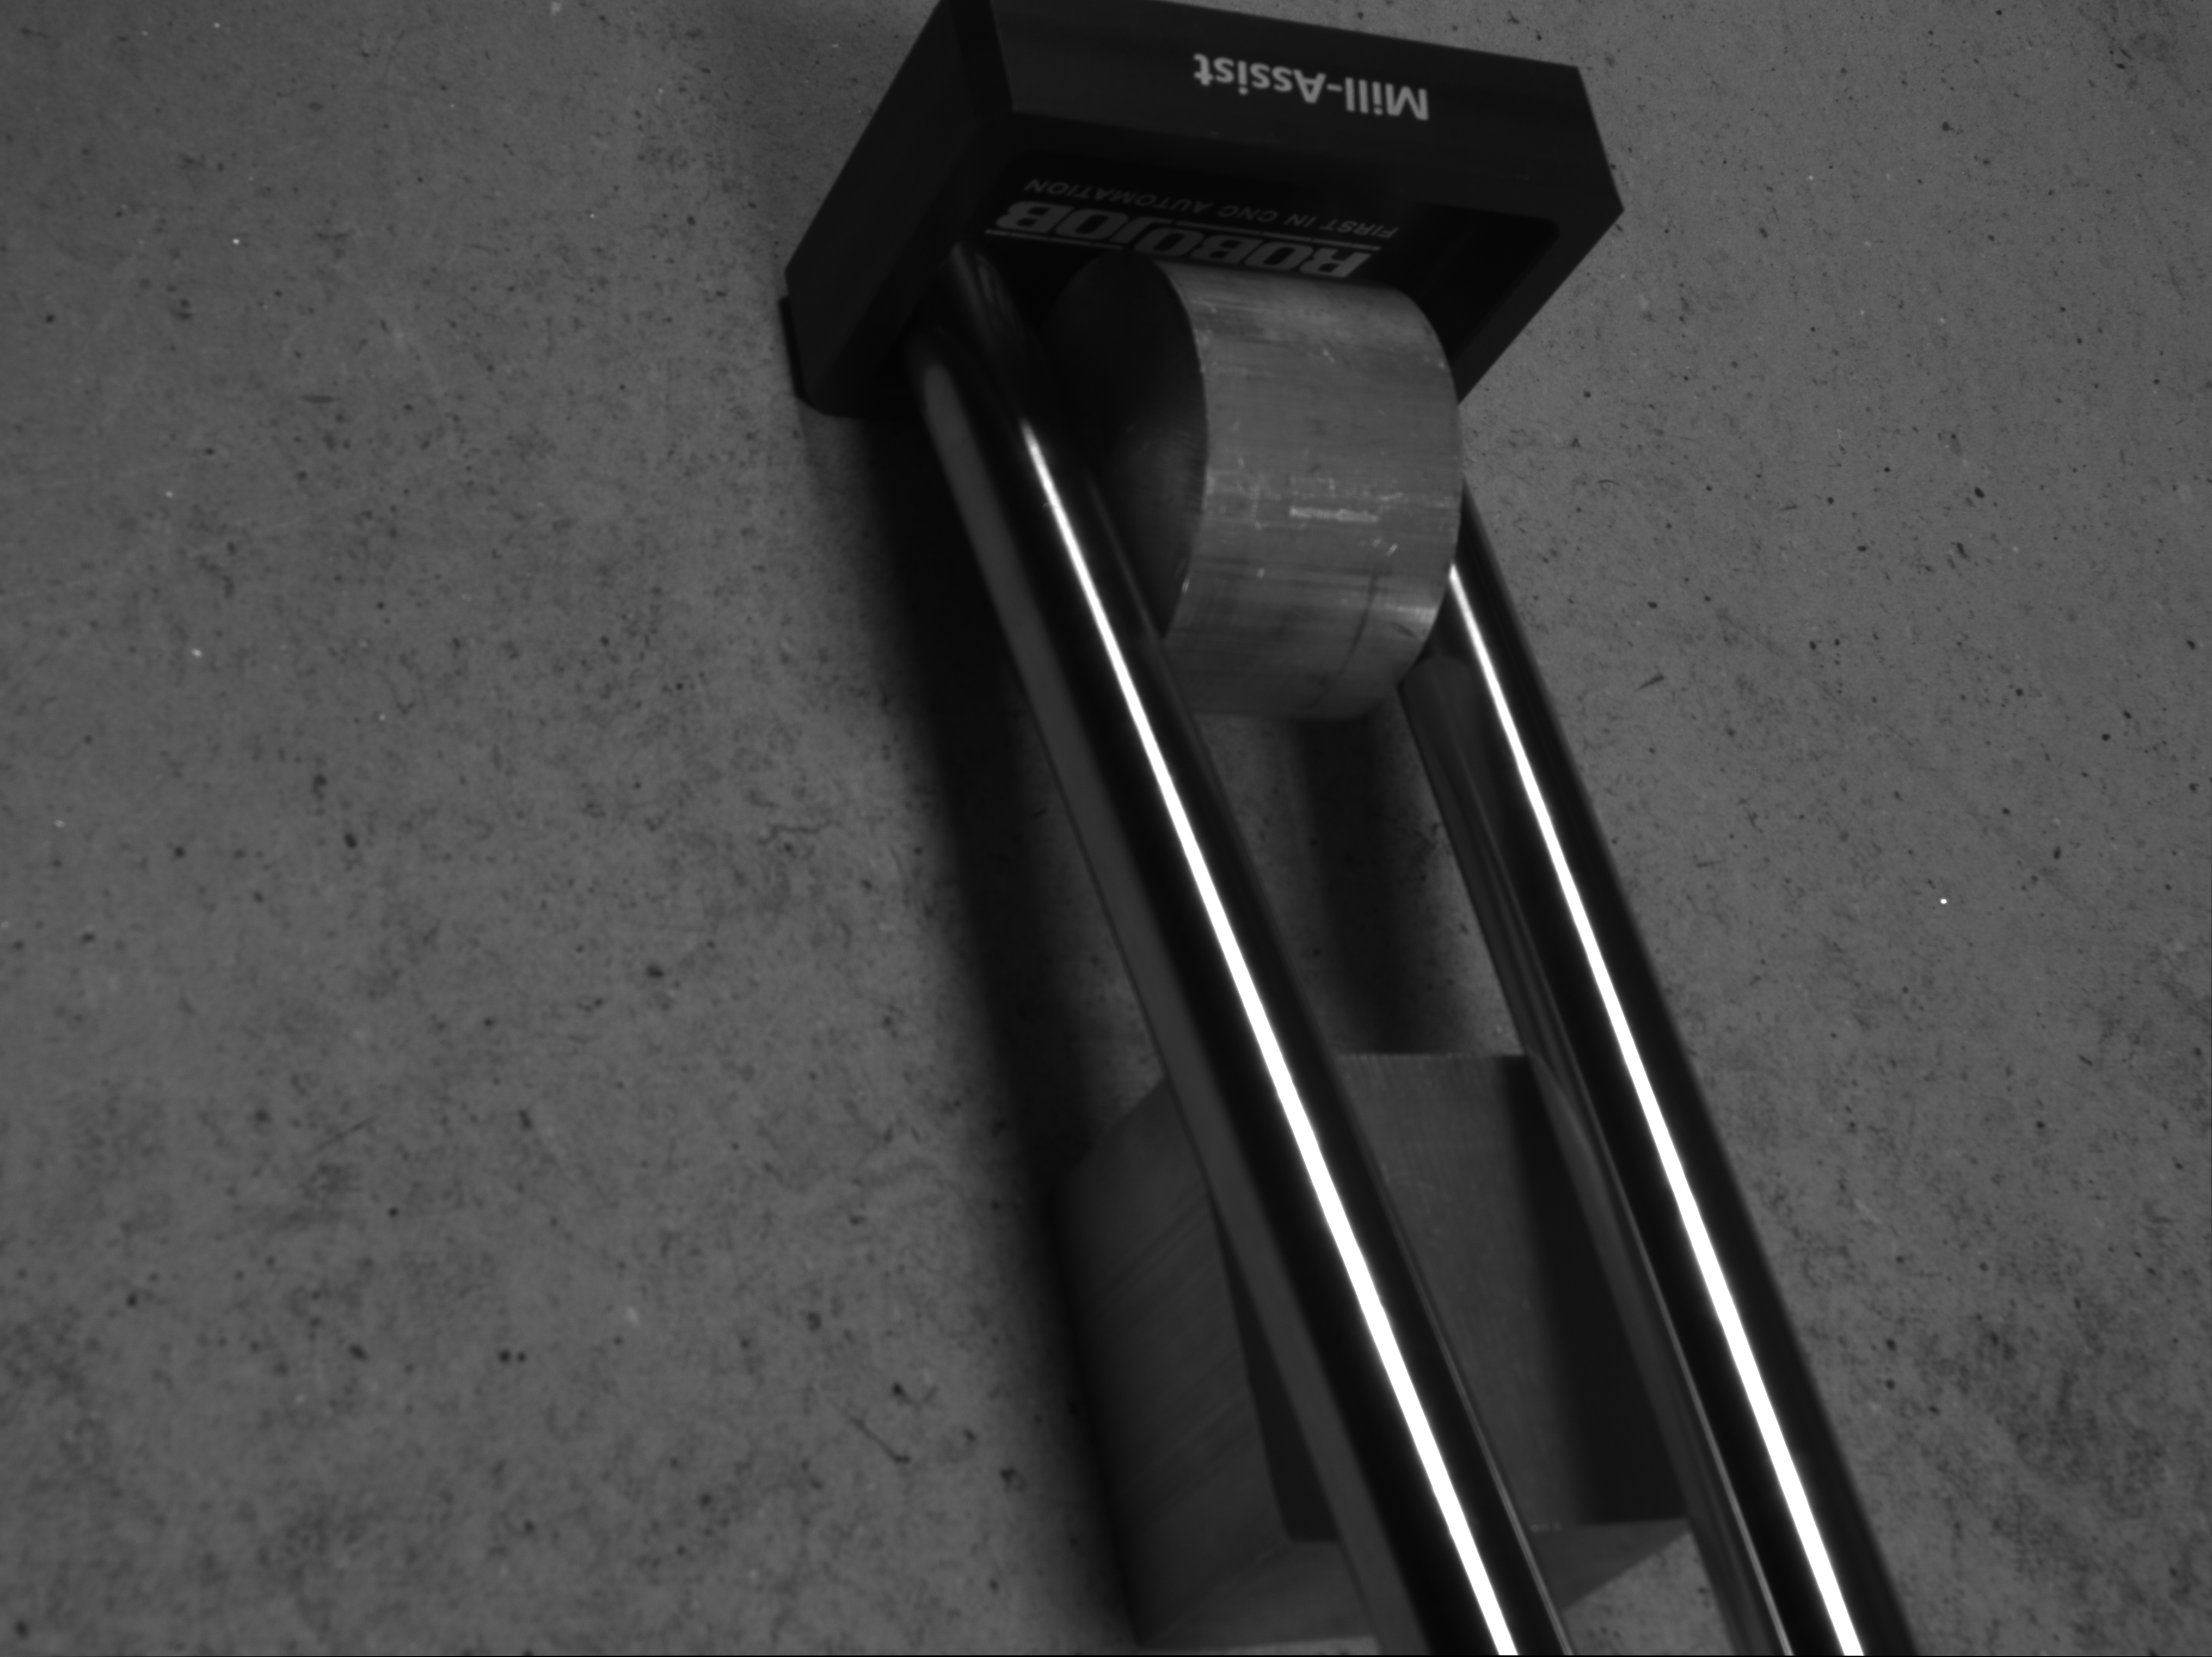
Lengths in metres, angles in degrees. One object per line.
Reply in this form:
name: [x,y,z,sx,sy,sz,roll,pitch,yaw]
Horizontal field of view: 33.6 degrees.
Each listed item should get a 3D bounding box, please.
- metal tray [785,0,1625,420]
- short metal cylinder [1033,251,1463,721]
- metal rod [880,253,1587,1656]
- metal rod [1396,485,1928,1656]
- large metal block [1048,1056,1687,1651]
metal tray: [0.017,-0.108,0.673,0.130,0.090,0.030,2,60,-27]
short metal cylinder: [0.021,-0.060,0.653,0.050,0.080,0.080,2,60,-27]
metal rod: [0.012,0.013,0.580,0.025,0.025,0.299,2,46,-27]
metal rod: [0.075,0.015,0.611,0.025,0.025,0.300,8,43,-24]
large metal block: [0.044,0.084,0.594,0.080,0.050,0.080,2,61,-27]
